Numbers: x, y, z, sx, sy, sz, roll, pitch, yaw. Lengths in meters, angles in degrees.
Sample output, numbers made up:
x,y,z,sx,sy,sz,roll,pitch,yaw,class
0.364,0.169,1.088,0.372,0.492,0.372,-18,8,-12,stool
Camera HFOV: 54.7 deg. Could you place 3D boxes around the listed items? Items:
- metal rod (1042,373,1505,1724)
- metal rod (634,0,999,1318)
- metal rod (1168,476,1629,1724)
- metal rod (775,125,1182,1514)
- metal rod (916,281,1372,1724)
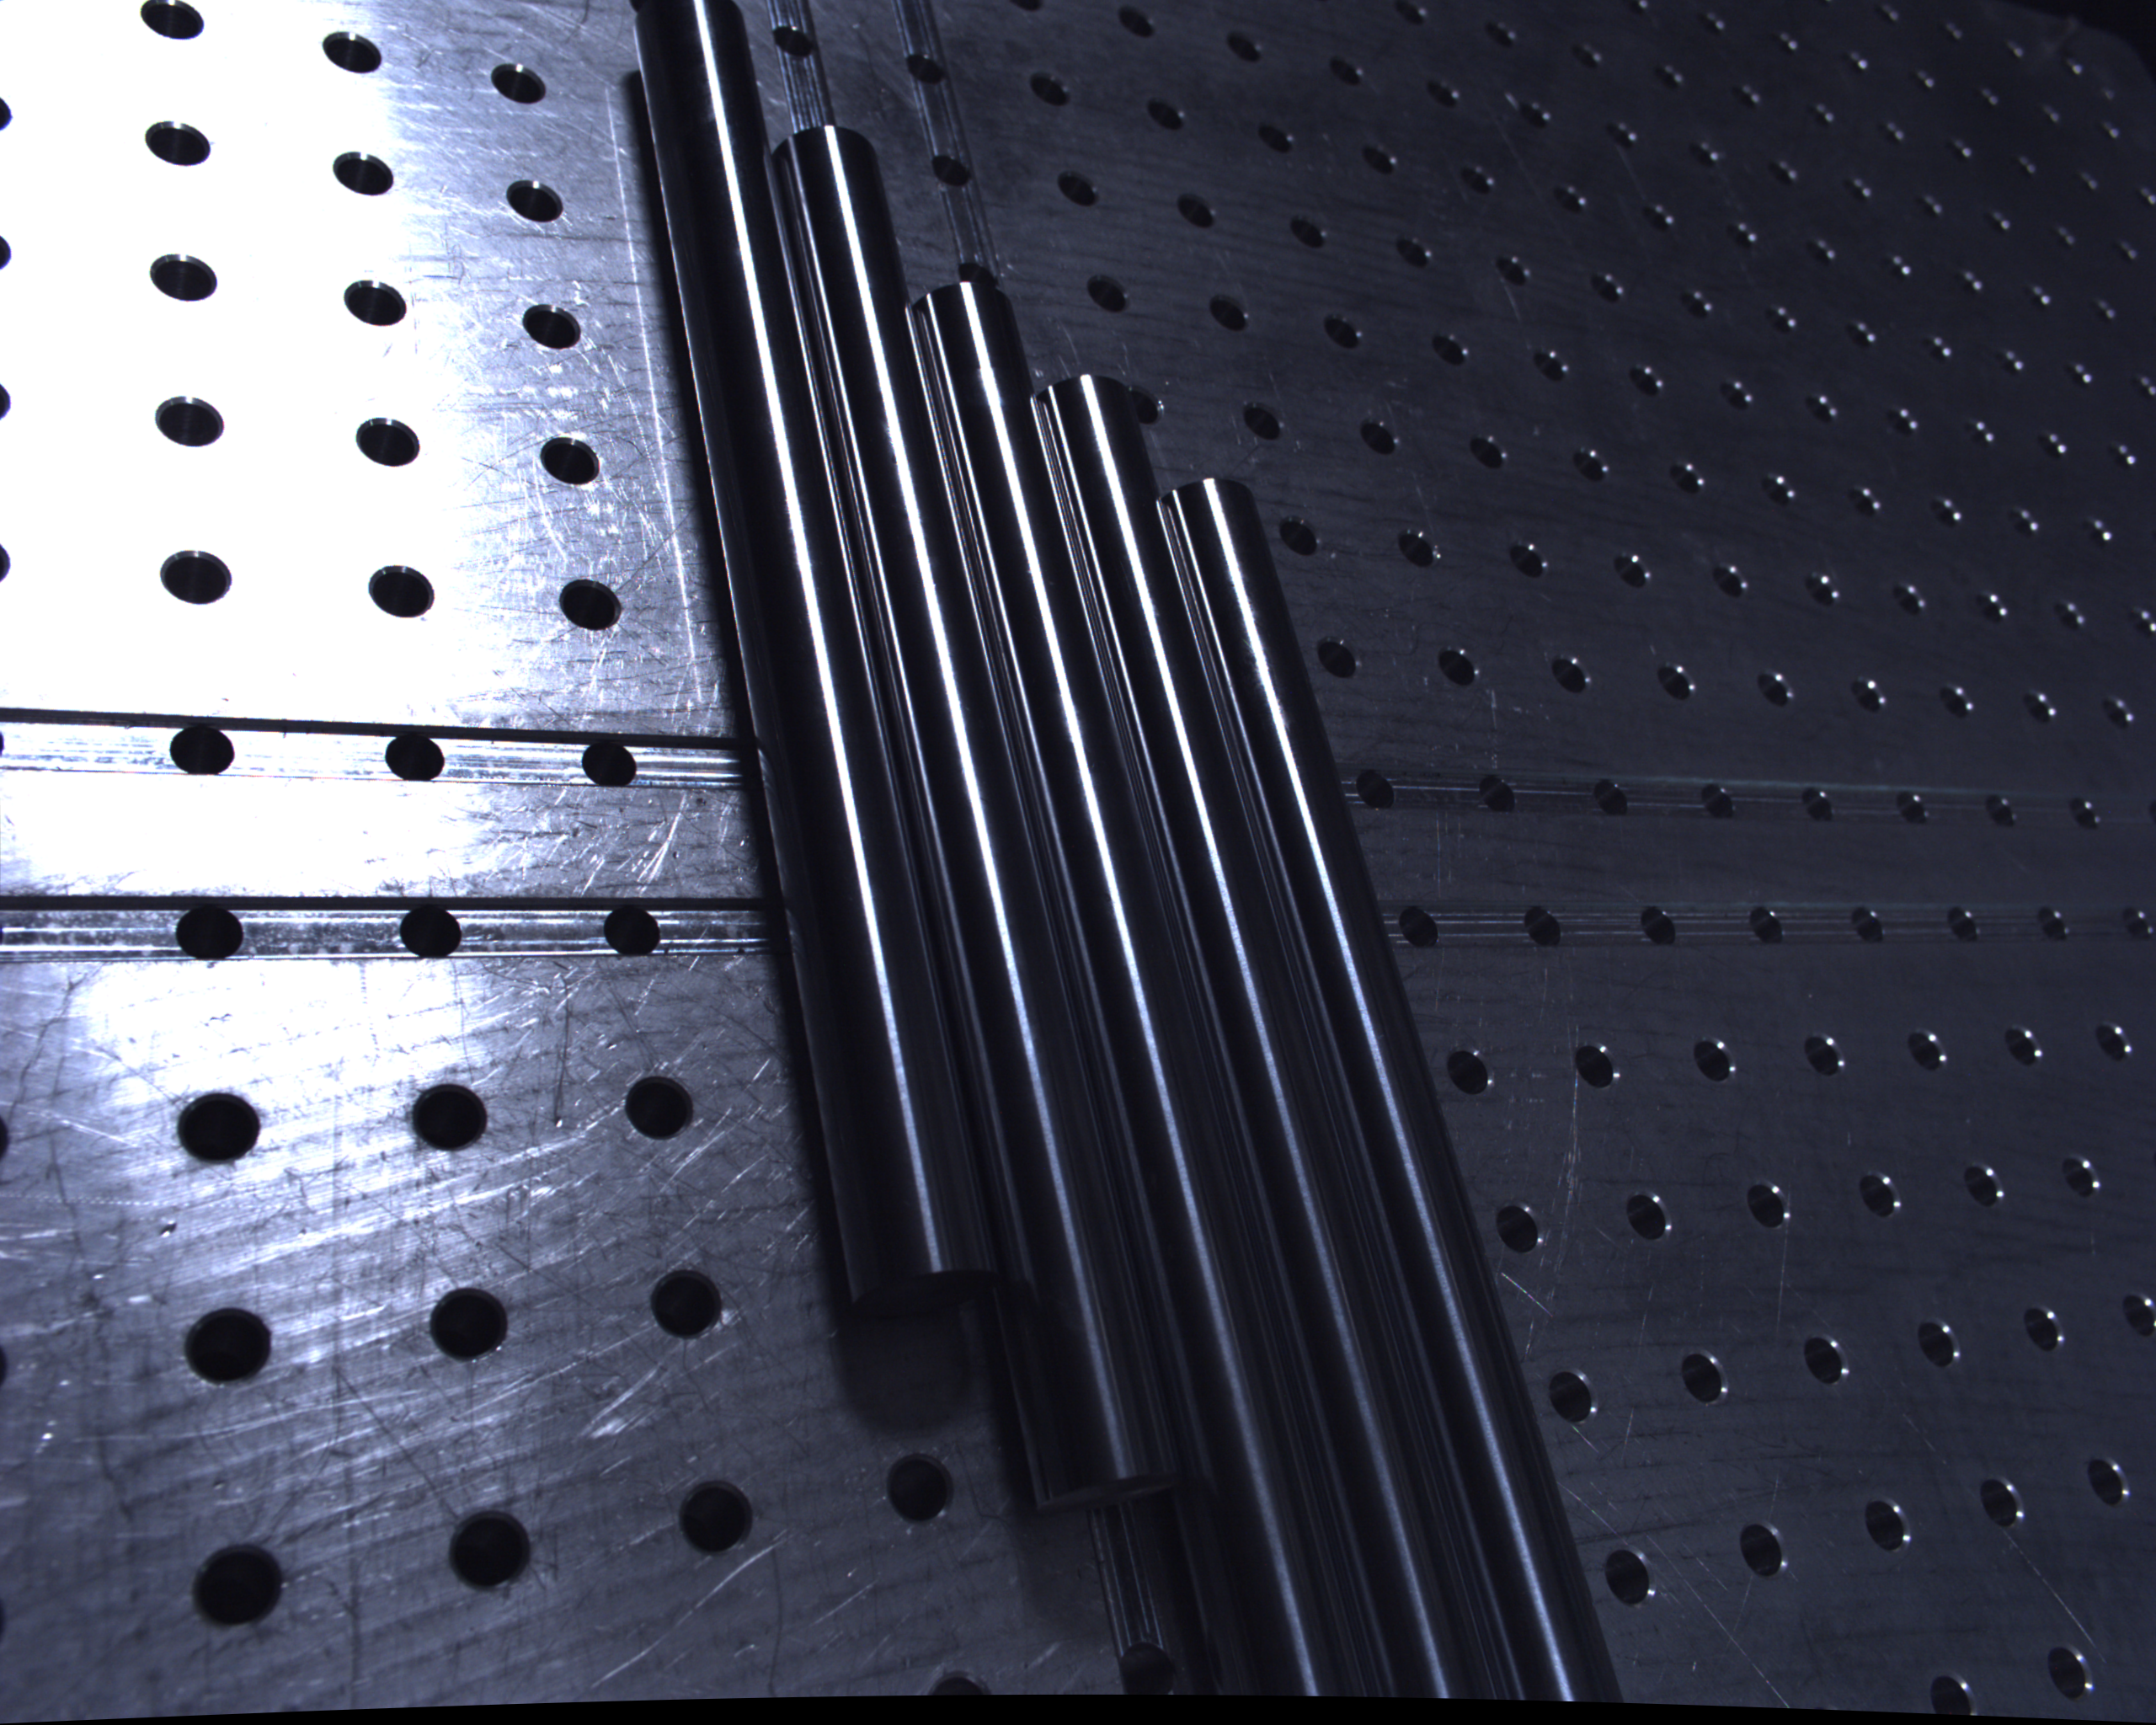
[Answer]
x,y,z,sx,sy,sz,roll,pitch,yaw,class
0.031,0.029,0.408,0.025,0.025,0.299,1,61,-28,metal rod
-0.057,-0.059,0.414,0.025,0.025,0.299,1,61,-28,metal rod
0.059,0.052,0.409,0.025,0.025,0.299,1,61,-28,metal rod
-0.026,-0.026,0.410,0.025,0.025,0.299,1,61,-28,metal rod
0.005,0.010,0.405,0.025,0.025,0.299,1,61,-28,metal rod
